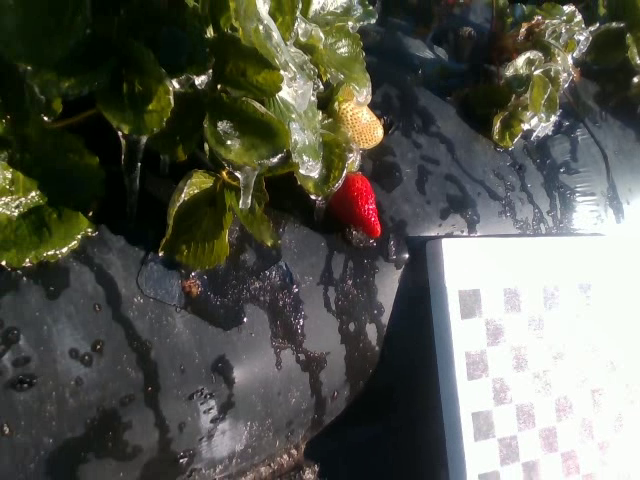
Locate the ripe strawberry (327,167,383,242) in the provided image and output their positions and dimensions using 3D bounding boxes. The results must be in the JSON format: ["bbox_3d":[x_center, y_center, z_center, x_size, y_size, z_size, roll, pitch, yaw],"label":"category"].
[{"bbox_3d":[0.035,-0.027,0.444,0.041,0.052,0.040,-21,-4,-32],"label":"ripe strawberry"}]
